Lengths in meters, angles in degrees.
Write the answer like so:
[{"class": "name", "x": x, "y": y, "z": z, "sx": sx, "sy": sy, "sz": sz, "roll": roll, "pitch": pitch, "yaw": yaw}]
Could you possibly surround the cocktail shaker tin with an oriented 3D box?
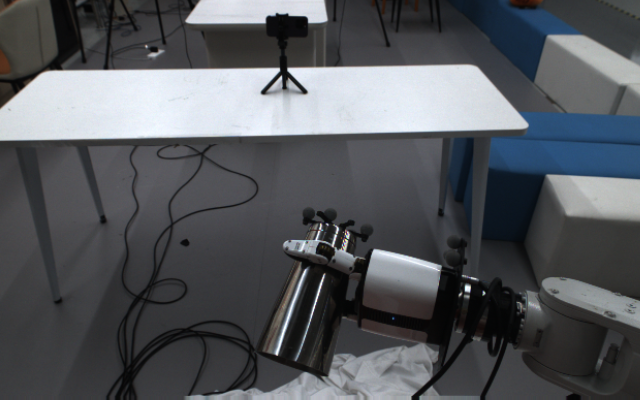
[{"class": "cocktail shaker tin", "x": -0.004, "y": 0.115, "z": 0.597, "sx": 0.093, "sy": 0.093, "sz": 0.170, "roll": 12, "pitch": 65, "yaw": 14}]
